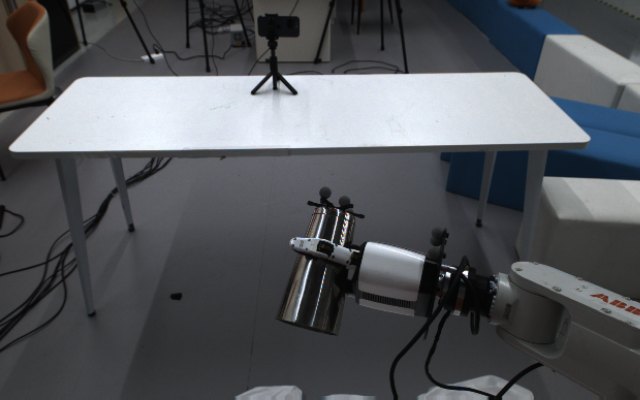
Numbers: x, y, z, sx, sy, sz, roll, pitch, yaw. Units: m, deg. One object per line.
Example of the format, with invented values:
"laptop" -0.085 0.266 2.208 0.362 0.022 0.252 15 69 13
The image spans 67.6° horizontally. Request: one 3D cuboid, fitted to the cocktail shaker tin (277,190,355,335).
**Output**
"cocktail shaker tin" 0.003 0.100 0.701 0.093 0.093 0.170 11 71 12
